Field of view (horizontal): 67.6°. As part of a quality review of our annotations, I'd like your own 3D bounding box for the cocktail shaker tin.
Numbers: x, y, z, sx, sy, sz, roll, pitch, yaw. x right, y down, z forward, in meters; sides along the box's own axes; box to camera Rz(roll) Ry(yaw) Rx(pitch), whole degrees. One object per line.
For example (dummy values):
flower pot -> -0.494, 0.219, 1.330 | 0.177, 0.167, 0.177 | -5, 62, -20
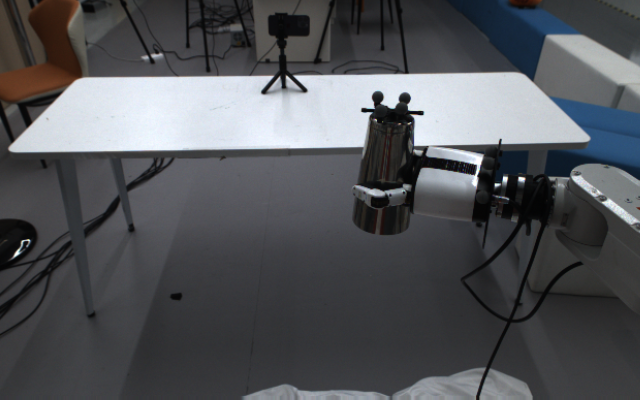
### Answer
cocktail shaker tin -> 0.101, -0.045, 0.732 | 0.093, 0.170, 0.093 | 2, 28, -1
